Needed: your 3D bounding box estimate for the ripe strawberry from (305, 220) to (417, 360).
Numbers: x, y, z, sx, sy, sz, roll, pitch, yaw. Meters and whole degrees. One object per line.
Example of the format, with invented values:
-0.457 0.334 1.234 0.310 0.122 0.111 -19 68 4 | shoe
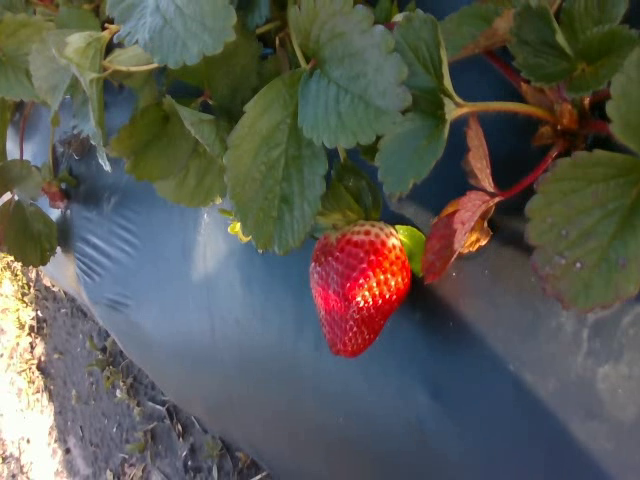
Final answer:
0.011 0.018 0.208 0.040 0.056 0.041 16 -27 -8 | ripe strawberry
